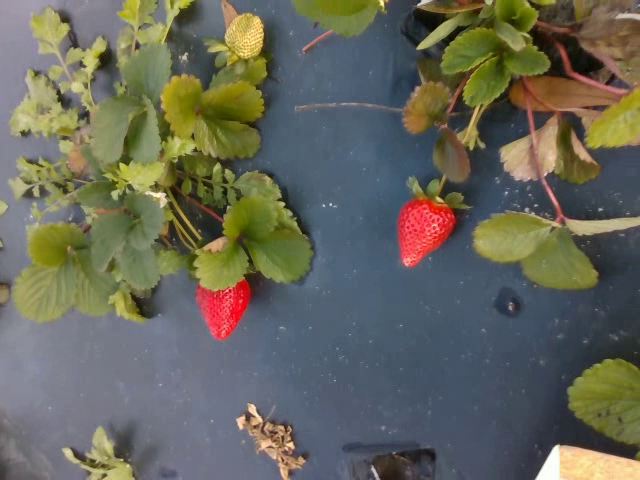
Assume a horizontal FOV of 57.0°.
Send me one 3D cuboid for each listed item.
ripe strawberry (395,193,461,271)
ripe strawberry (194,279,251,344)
[{"bbox_3d":[0.061,-0.002,0.351,0.044,0.052,0.041,24,-5,-13],"label":"ripe strawberry"},{"bbox_3d":[-0.072,0.049,0.418,0.050,0.050,0.046,6,-32,2],"label":"ripe strawberry"}]
